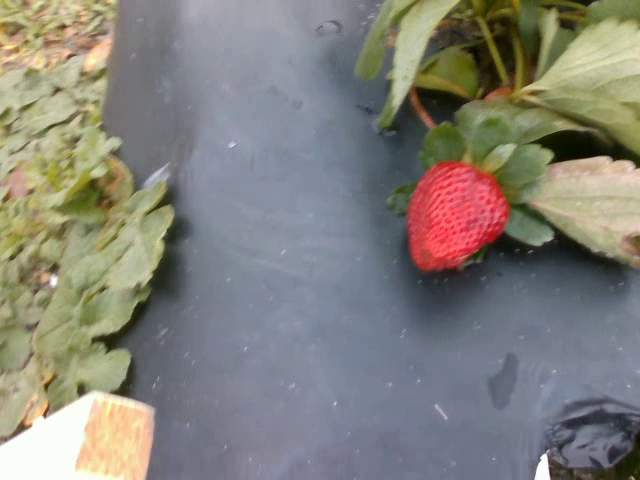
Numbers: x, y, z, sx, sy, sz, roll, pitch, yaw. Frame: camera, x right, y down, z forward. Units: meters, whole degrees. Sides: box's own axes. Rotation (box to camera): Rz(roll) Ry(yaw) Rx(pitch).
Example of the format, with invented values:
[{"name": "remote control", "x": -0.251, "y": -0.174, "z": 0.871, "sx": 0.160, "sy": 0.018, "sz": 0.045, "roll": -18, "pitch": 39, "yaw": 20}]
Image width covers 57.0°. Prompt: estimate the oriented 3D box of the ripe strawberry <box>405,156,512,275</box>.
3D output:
[{"name": "ripe strawberry", "x": 0.053, "y": -0.008, "z": 0.245, "sx": 0.046, "sy": 0.049, "sz": 0.064, "roll": -33, "pitch": 11, "yaw": 44}]
